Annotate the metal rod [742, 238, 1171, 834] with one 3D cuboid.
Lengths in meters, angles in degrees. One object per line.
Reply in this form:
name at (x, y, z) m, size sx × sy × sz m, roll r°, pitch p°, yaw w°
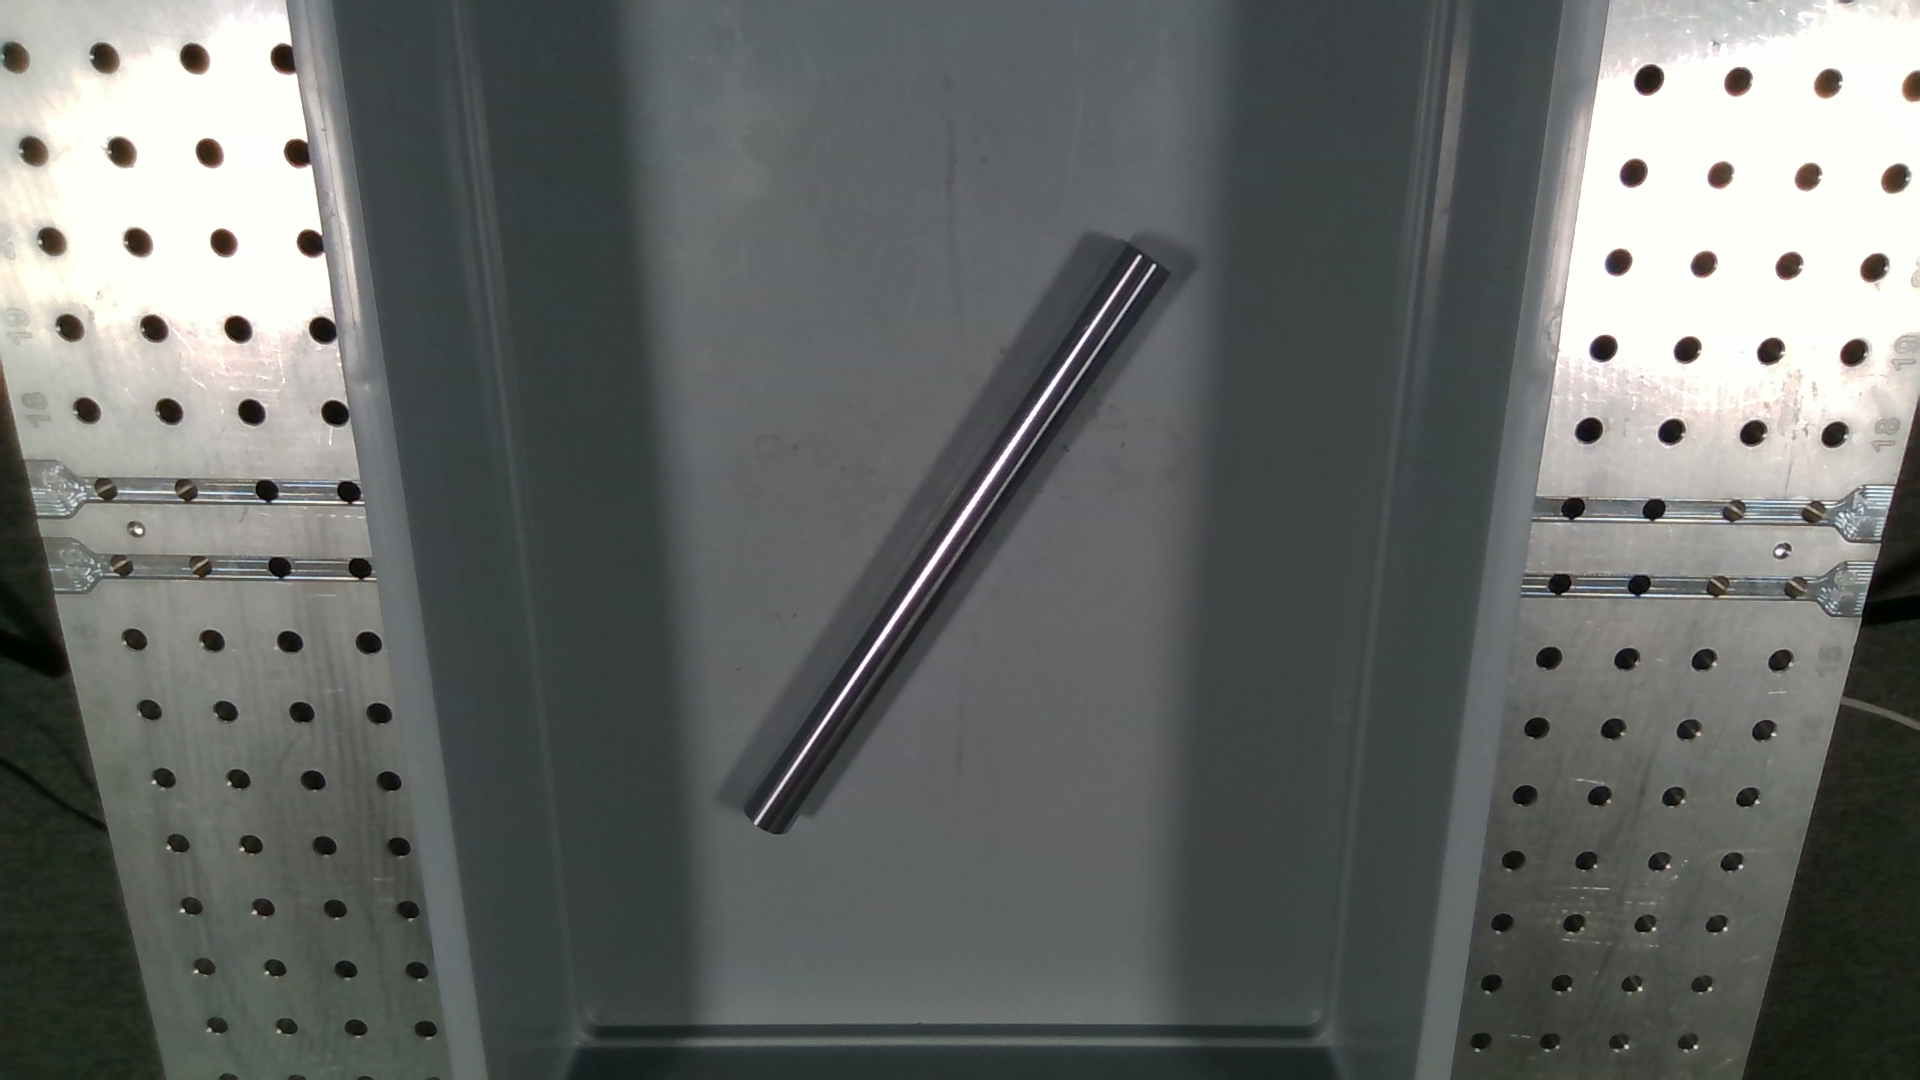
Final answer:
metal rod at (-0.008, 0.007, 0.585) m, size 0.025 × 0.025 × 0.300 m, roll 31°, pitch 107°, yaw -11°
